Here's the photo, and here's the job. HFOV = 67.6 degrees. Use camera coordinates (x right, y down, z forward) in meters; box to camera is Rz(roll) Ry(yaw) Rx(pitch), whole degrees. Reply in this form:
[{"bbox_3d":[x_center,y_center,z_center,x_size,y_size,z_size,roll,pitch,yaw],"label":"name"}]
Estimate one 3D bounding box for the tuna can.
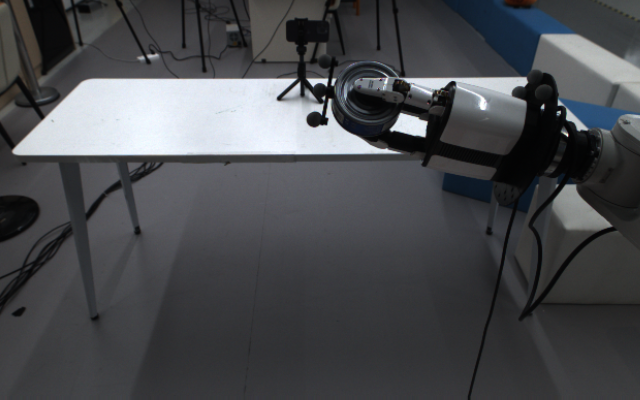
[{"bbox_3d":[0.060,-0.118,0.577,0.085,0.034,0.085,2,73,-5],"label":"tuna can"}]
